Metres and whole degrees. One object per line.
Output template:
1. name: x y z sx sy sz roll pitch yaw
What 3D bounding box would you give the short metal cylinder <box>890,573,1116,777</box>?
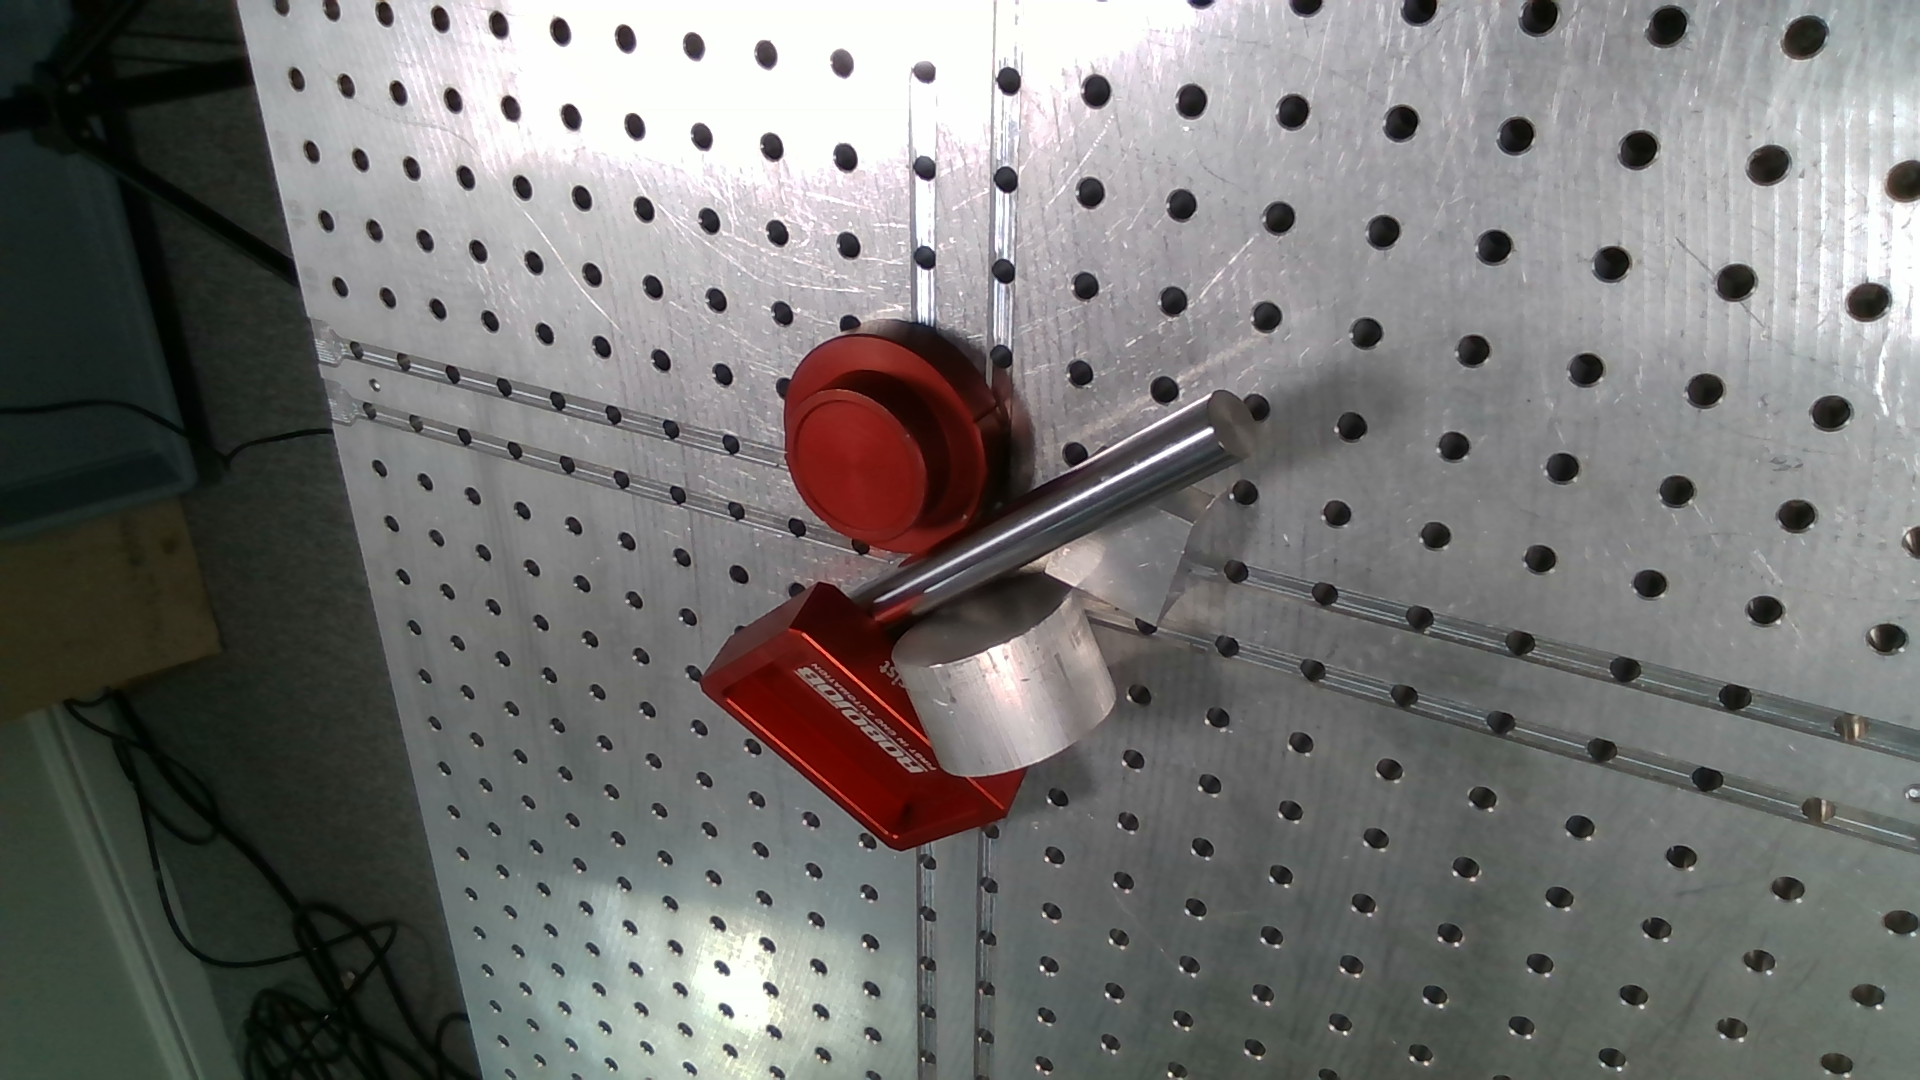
1. short metal cylinder: 0.018 0.054 0.566 0.080 0.080 0.050 -12 108 36

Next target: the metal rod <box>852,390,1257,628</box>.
1. metal rod: 0.000 0.011 0.567 0.300 0.025 0.025 -28 98 47

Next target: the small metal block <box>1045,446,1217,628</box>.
1. small metal block: 0.067 -0.002 0.542 0.050 0.025 0.050 26 126 17

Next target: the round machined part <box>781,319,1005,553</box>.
1. round machined part: -0.034 -0.038 0.571 0.098 0.042 0.098 14 122 25

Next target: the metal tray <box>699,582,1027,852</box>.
1. metal tray: -0.044 0.084 0.626 0.130 0.030 0.090 43 139 -15
